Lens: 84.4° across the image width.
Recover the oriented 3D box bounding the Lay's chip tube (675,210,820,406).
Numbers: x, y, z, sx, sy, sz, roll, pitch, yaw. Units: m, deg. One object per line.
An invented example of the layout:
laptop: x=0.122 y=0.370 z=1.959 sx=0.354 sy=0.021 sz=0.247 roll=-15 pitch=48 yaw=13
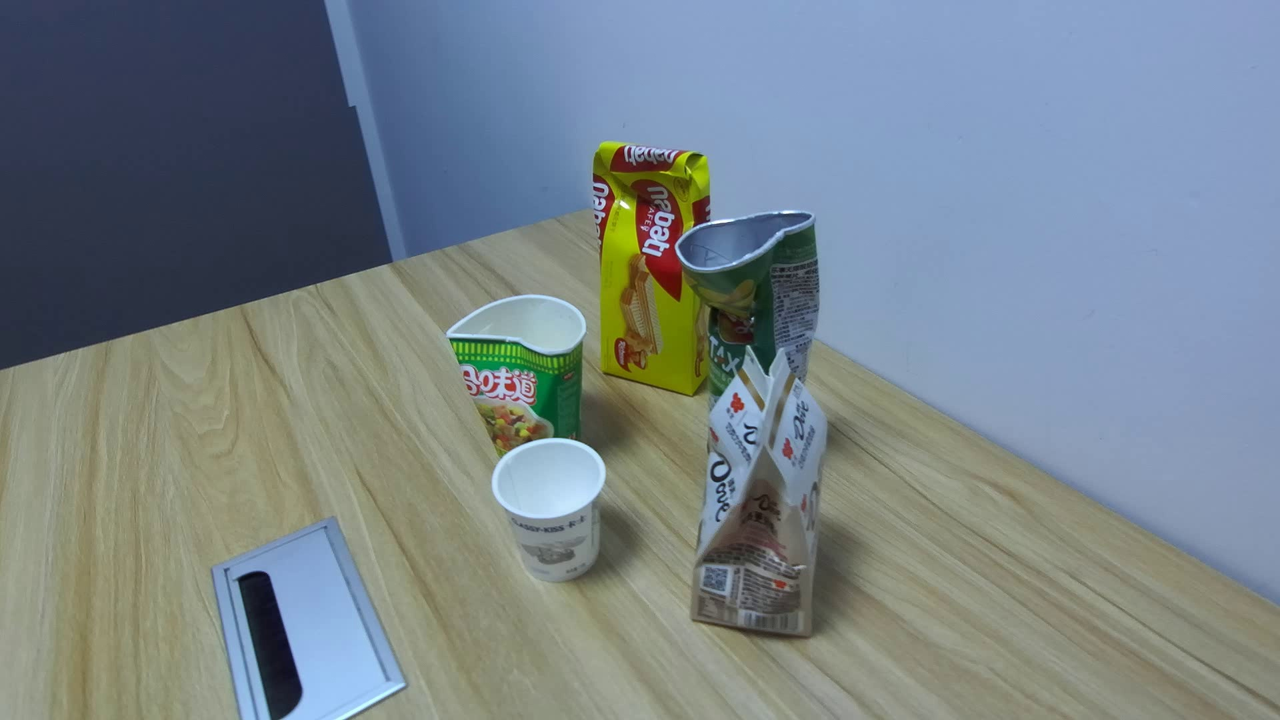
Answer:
Lay's chip tube: x=0.074 y=-0.007 z=0.489 sx=0.078 sy=0.200 sz=0.071 roll=21 pitch=48 yaw=34

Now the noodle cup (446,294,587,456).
noodle cup: x=-0.080 y=0.020 z=0.538 sx=0.093 sy=0.109 sz=0.087 roll=24 pitch=42 yaw=35

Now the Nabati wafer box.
Nabati wafer box: x=0.010 y=-0.072 z=0.584 sx=0.113 sy=0.205 sz=0.043 roll=14 pitch=34 yaw=27

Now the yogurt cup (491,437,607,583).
yogurt cup: x=-0.055 y=0.100 z=0.456 sx=0.072 sy=0.068 sz=0.072 roll=-2 pitch=34 yaw=1

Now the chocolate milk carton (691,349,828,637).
chocolate milk carton: x=0.068 y=0.077 z=0.400 sx=0.073 sy=0.155 sz=0.084 roll=5 pitch=34 yaw=13
